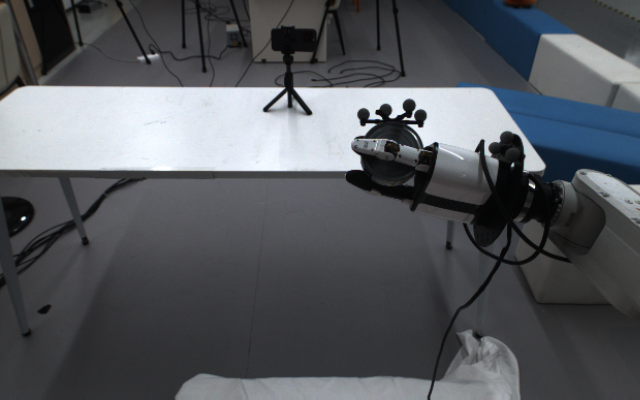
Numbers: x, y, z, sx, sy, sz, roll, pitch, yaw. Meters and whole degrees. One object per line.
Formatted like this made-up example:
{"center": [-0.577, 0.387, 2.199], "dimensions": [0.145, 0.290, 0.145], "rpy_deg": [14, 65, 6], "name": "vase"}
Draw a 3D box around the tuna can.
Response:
{"center": [0.098, -0.064, 0.669], "dimensions": [0.085, 0.034, 0.085], "rpy_deg": [-1, 74, 4], "name": "tuna can"}
